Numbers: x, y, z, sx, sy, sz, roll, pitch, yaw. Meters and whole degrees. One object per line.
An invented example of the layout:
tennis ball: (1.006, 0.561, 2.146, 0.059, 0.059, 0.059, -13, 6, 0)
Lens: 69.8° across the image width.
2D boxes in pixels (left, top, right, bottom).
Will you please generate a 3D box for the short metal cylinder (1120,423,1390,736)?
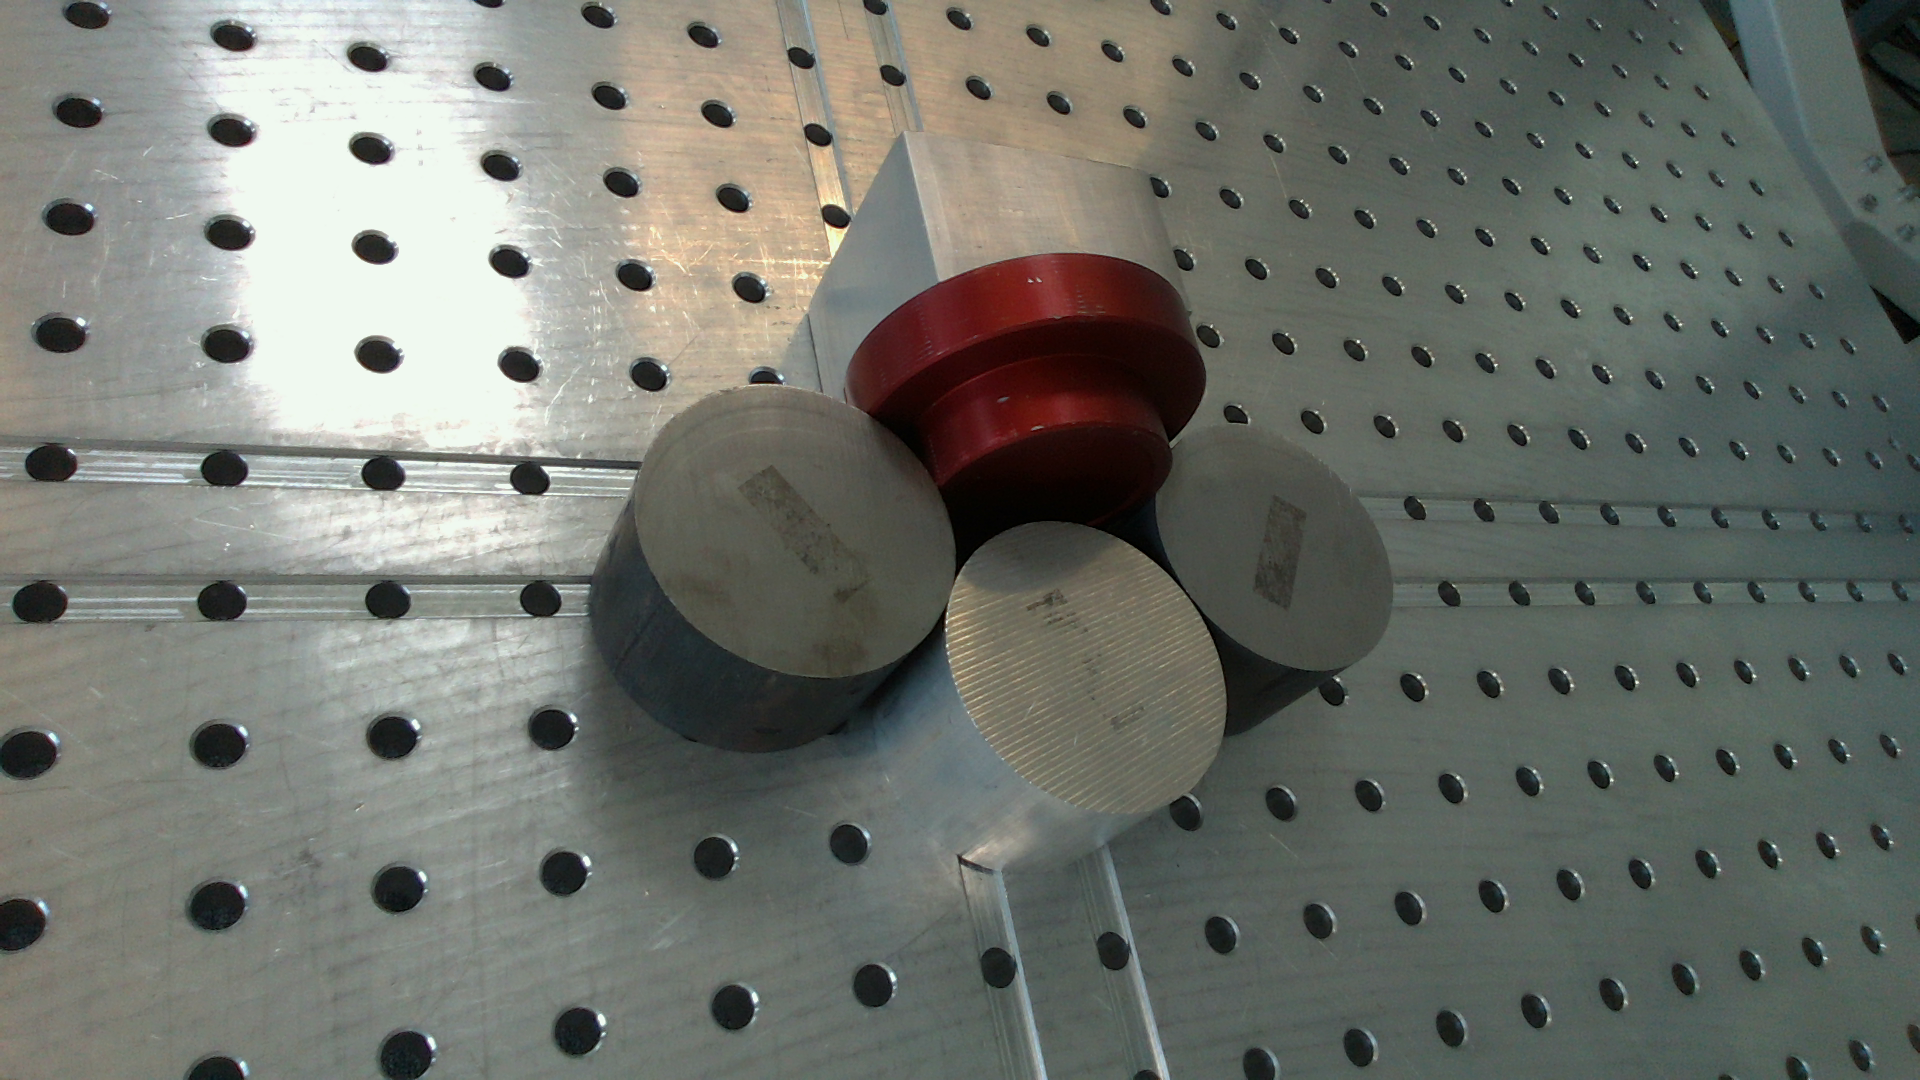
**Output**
short metal cylinder: (0.080, 0.012, 0.413, 0.080, 0.050, 0.080, 14, 56, -21)

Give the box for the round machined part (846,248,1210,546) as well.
round machined part: (0.020, -0.031, 0.374, 0.098, 0.098, 0.042, 2, 60, -27)

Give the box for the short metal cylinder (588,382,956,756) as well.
short metal cylinder: (-0.048, 0.008, 0.346, 0.080, 0.050, 0.080, 14, 56, -21)

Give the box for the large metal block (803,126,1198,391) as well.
large metal block: (0.009, -0.068, 0.403, 0.080, 0.080, 0.050, 1, 61, -28)

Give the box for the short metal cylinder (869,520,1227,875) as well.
short metal cylinder: (0.023, 0.042, 0.363, 0.080, 0.050, 0.080, 14, 56, -21)
